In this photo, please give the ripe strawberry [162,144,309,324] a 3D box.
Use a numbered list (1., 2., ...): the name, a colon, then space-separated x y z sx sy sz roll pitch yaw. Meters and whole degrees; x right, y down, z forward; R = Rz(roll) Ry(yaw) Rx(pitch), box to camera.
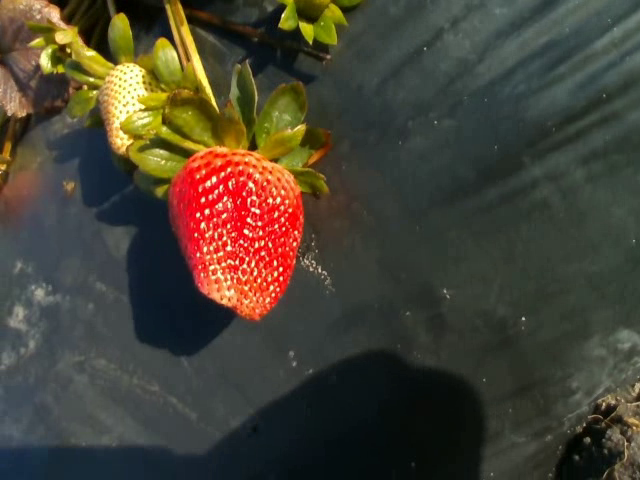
1. ripe strawberry: -0.023 0.001 0.183 0.042 0.059 0.042 -20 -28 14
